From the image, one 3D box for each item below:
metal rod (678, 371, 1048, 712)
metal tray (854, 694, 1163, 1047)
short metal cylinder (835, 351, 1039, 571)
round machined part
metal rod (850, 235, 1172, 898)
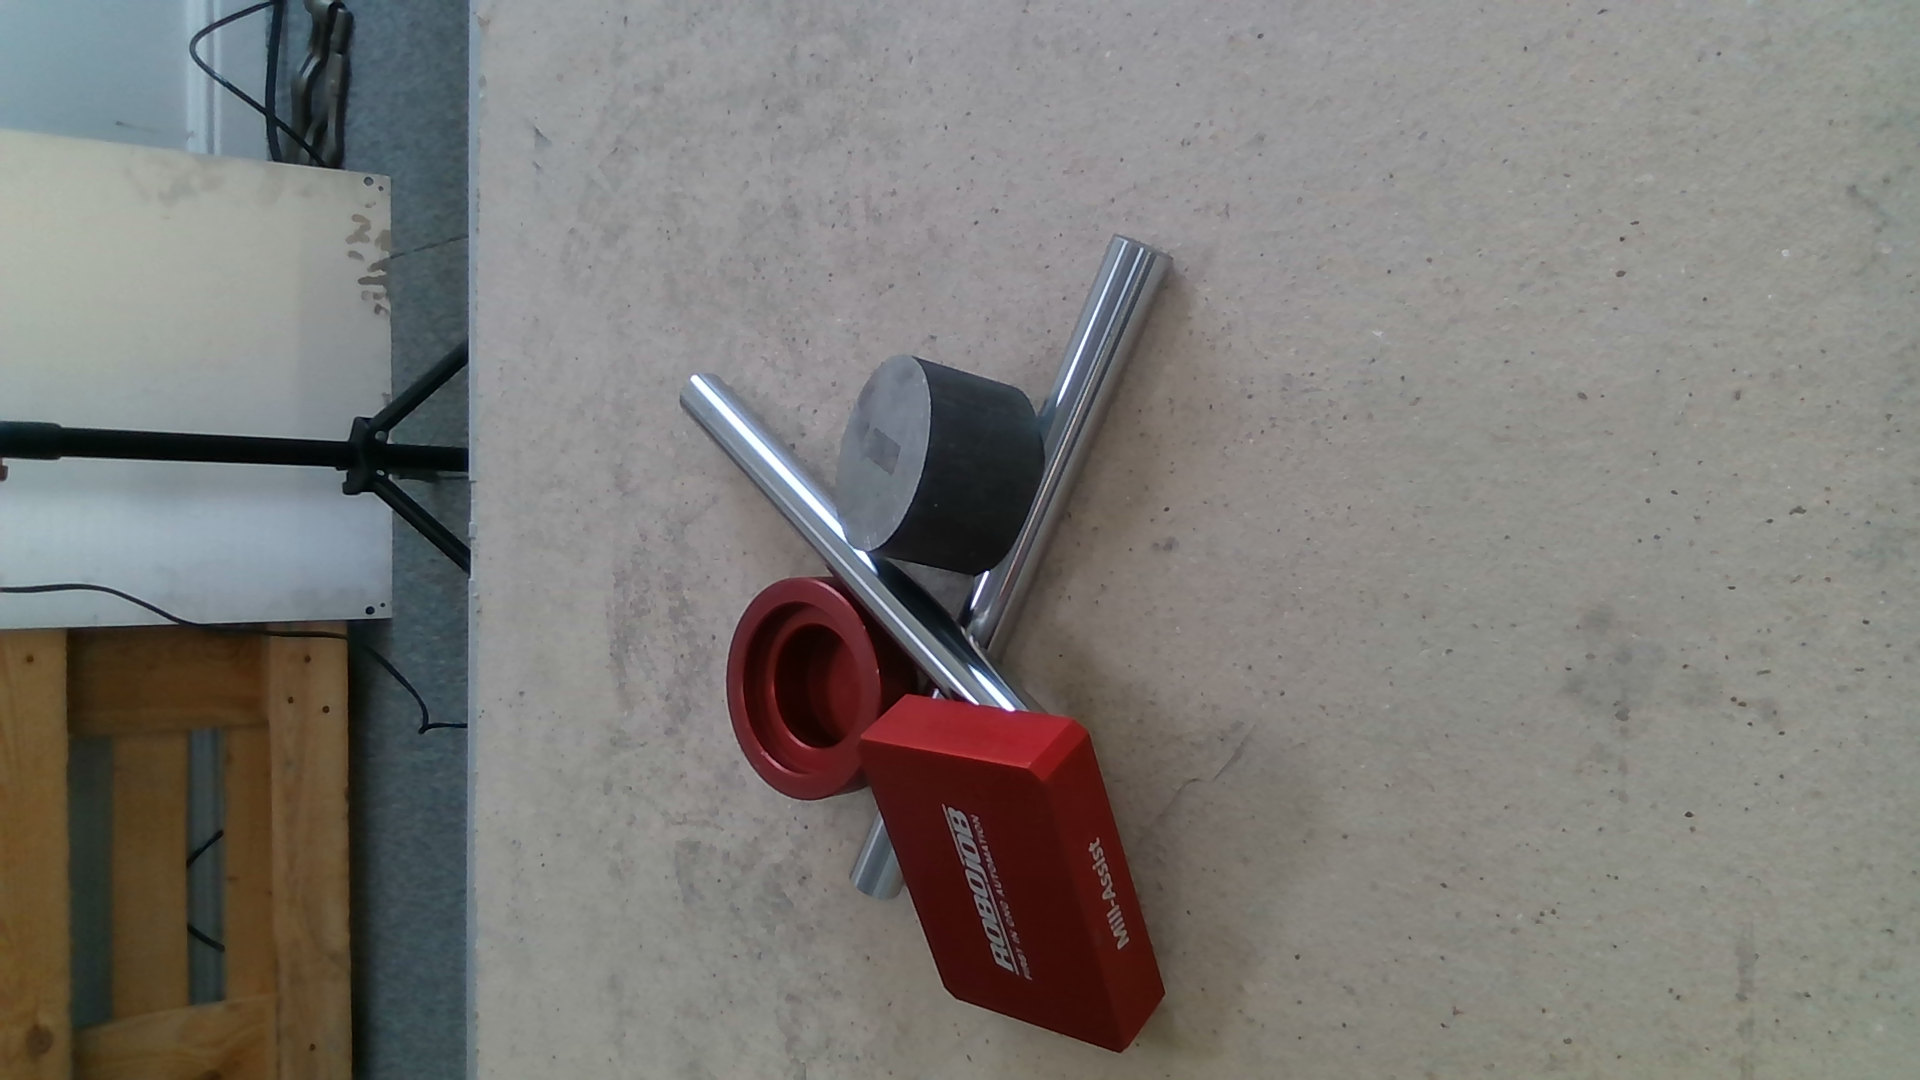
[{"bbox_3d":[-0.045,0.007,0.598,0.299,0.025,0.025,44,117,39],"label":"metal rod"},{"bbox_3d":[0.019,0.125,0.528,0.090,0.030,0.130,3,120,40],"label":"metal tray"},{"bbox_3d":[-0.011,-0.031,0.558,0.080,0.050,0.080,-32,52,52],"label":"short metal cylinder"},{"bbox_3d":[-0.058,0.065,0.621,0.098,0.042,0.098,0,91,40],"label":"round machined part"},{"bbox_3d":[0.016,0.020,0.570,0.025,0.025,0.301,35,112,34],"label":"metal rod"}]
